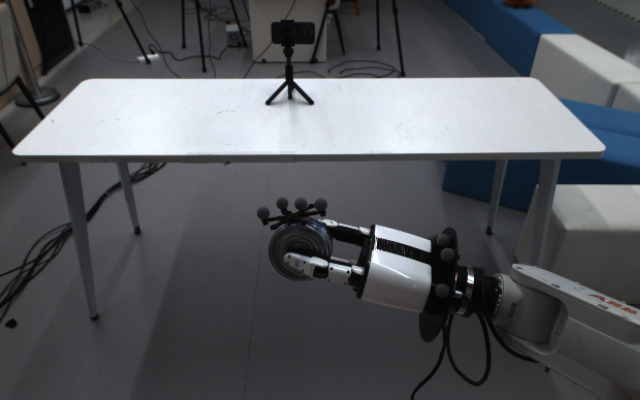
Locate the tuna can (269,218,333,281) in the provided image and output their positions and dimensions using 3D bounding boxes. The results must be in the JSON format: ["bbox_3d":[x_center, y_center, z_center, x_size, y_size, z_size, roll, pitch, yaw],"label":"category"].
[{"bbox_3d":[-0.023,0.073,0.657,0.085,0.085,0.034,6,18,5],"label":"tuna can"}]
